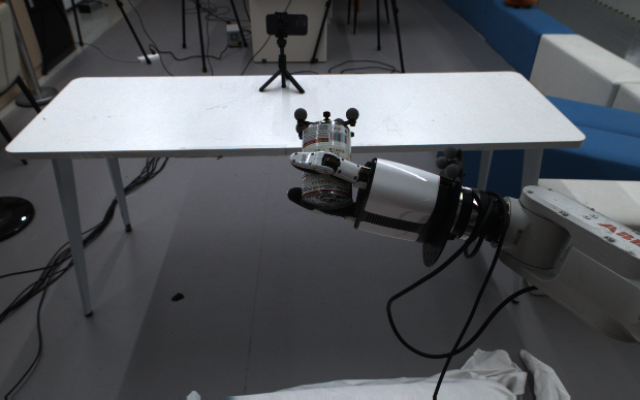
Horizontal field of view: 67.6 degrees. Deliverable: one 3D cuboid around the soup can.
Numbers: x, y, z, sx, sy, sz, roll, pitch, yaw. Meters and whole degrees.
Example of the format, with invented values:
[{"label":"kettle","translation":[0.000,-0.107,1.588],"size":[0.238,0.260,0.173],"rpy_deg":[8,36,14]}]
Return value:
[{"label":"soup can","translation":[0.010,-0.045,0.639],"size":[0.067,0.067,0.101],"rpy_deg":[1,73,-2]}]
